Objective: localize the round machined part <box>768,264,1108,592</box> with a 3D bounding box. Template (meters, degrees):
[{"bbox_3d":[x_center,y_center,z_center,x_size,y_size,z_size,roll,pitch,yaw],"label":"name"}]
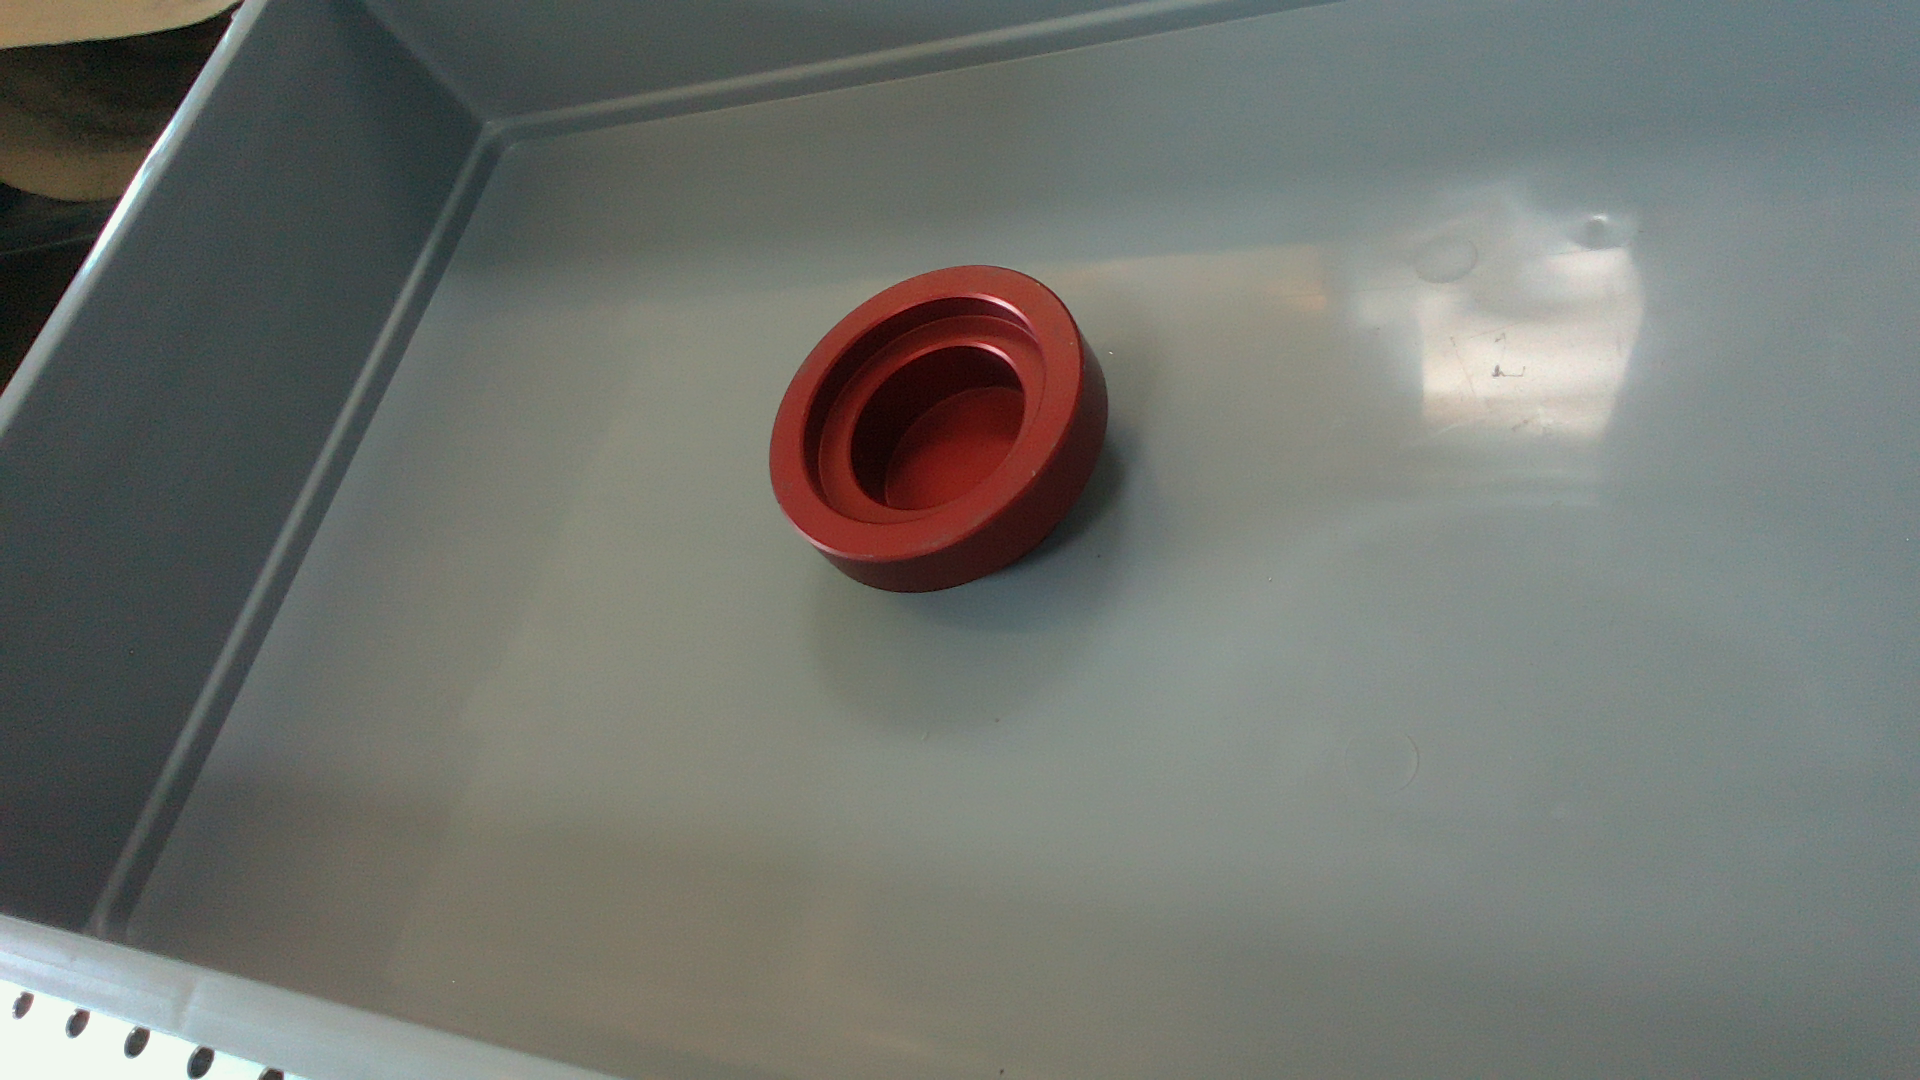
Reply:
[{"bbox_3d":[-0.003,-0.028,0.398,0.098,0.042,0.098,-13,56,21],"label":"round machined part"}]
